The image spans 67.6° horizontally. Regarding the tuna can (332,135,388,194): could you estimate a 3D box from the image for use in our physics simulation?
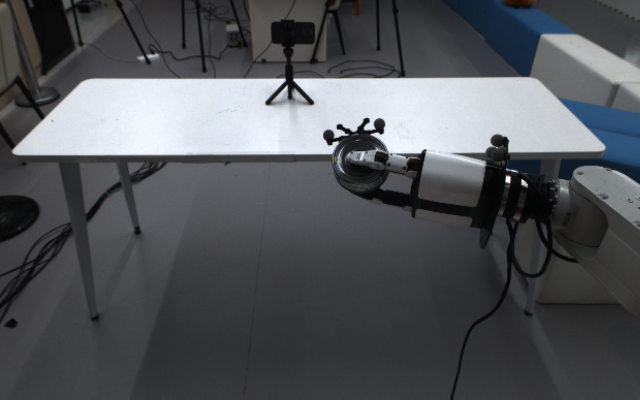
[{"bbox_3d":[0.065,-0.050,0.719,0.085,0.034,0.085,-4,68,9],"label":"tuna can"}]
